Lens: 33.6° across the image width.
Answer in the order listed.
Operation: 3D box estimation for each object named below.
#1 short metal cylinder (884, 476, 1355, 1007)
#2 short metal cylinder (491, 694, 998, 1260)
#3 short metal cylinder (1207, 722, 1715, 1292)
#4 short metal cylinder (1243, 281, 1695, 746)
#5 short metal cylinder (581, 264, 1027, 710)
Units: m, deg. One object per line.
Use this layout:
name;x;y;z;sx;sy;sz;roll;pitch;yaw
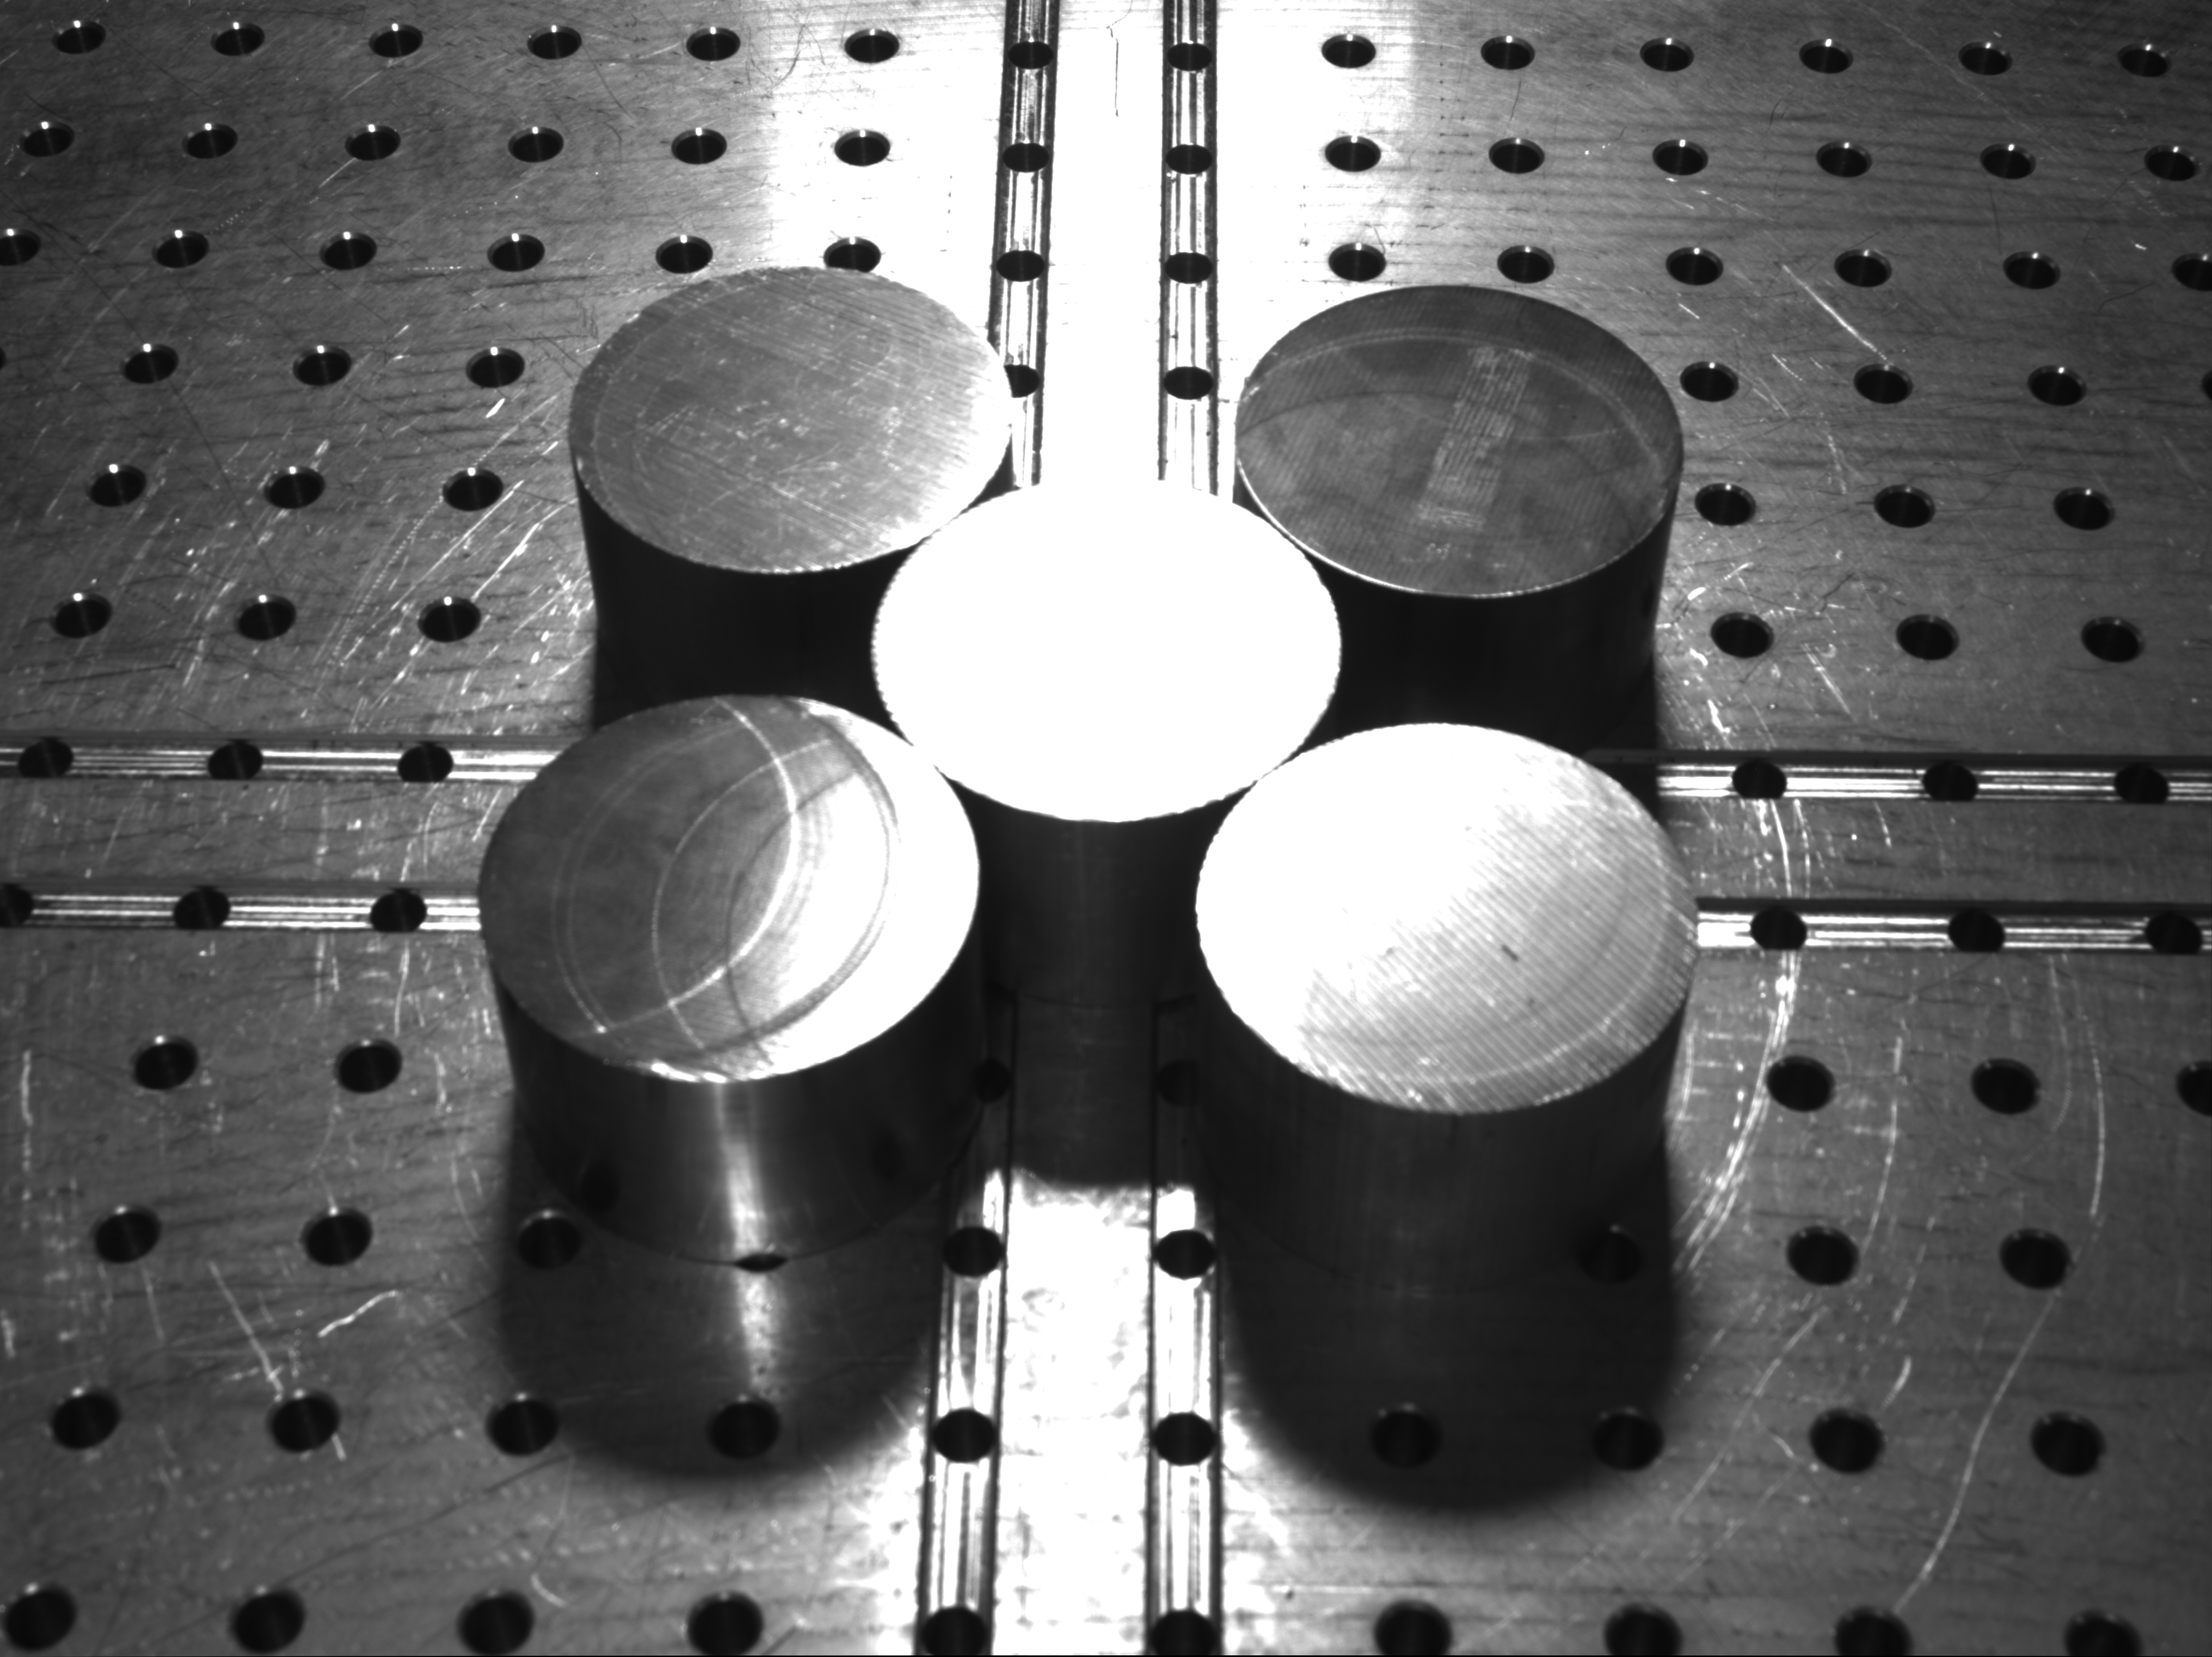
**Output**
short metal cylinder;0.002;-0.016;0.641;0.080;0.050;0.080;0;50;0
short metal cylinder;-0.058;0.024;0.607;0.080;0.050;0.080;0;50;0
short metal cylinder;0.057;0.029;0.604;0.080;0.050;0.080;0;50;0
short metal cylinder;0.065;-0.055;0.672;0.080;0.050;0.080;0;50;0
short metal cylinder;-0.054;-0.059;0.678;0.080;0.050;0.080;0;50;0
